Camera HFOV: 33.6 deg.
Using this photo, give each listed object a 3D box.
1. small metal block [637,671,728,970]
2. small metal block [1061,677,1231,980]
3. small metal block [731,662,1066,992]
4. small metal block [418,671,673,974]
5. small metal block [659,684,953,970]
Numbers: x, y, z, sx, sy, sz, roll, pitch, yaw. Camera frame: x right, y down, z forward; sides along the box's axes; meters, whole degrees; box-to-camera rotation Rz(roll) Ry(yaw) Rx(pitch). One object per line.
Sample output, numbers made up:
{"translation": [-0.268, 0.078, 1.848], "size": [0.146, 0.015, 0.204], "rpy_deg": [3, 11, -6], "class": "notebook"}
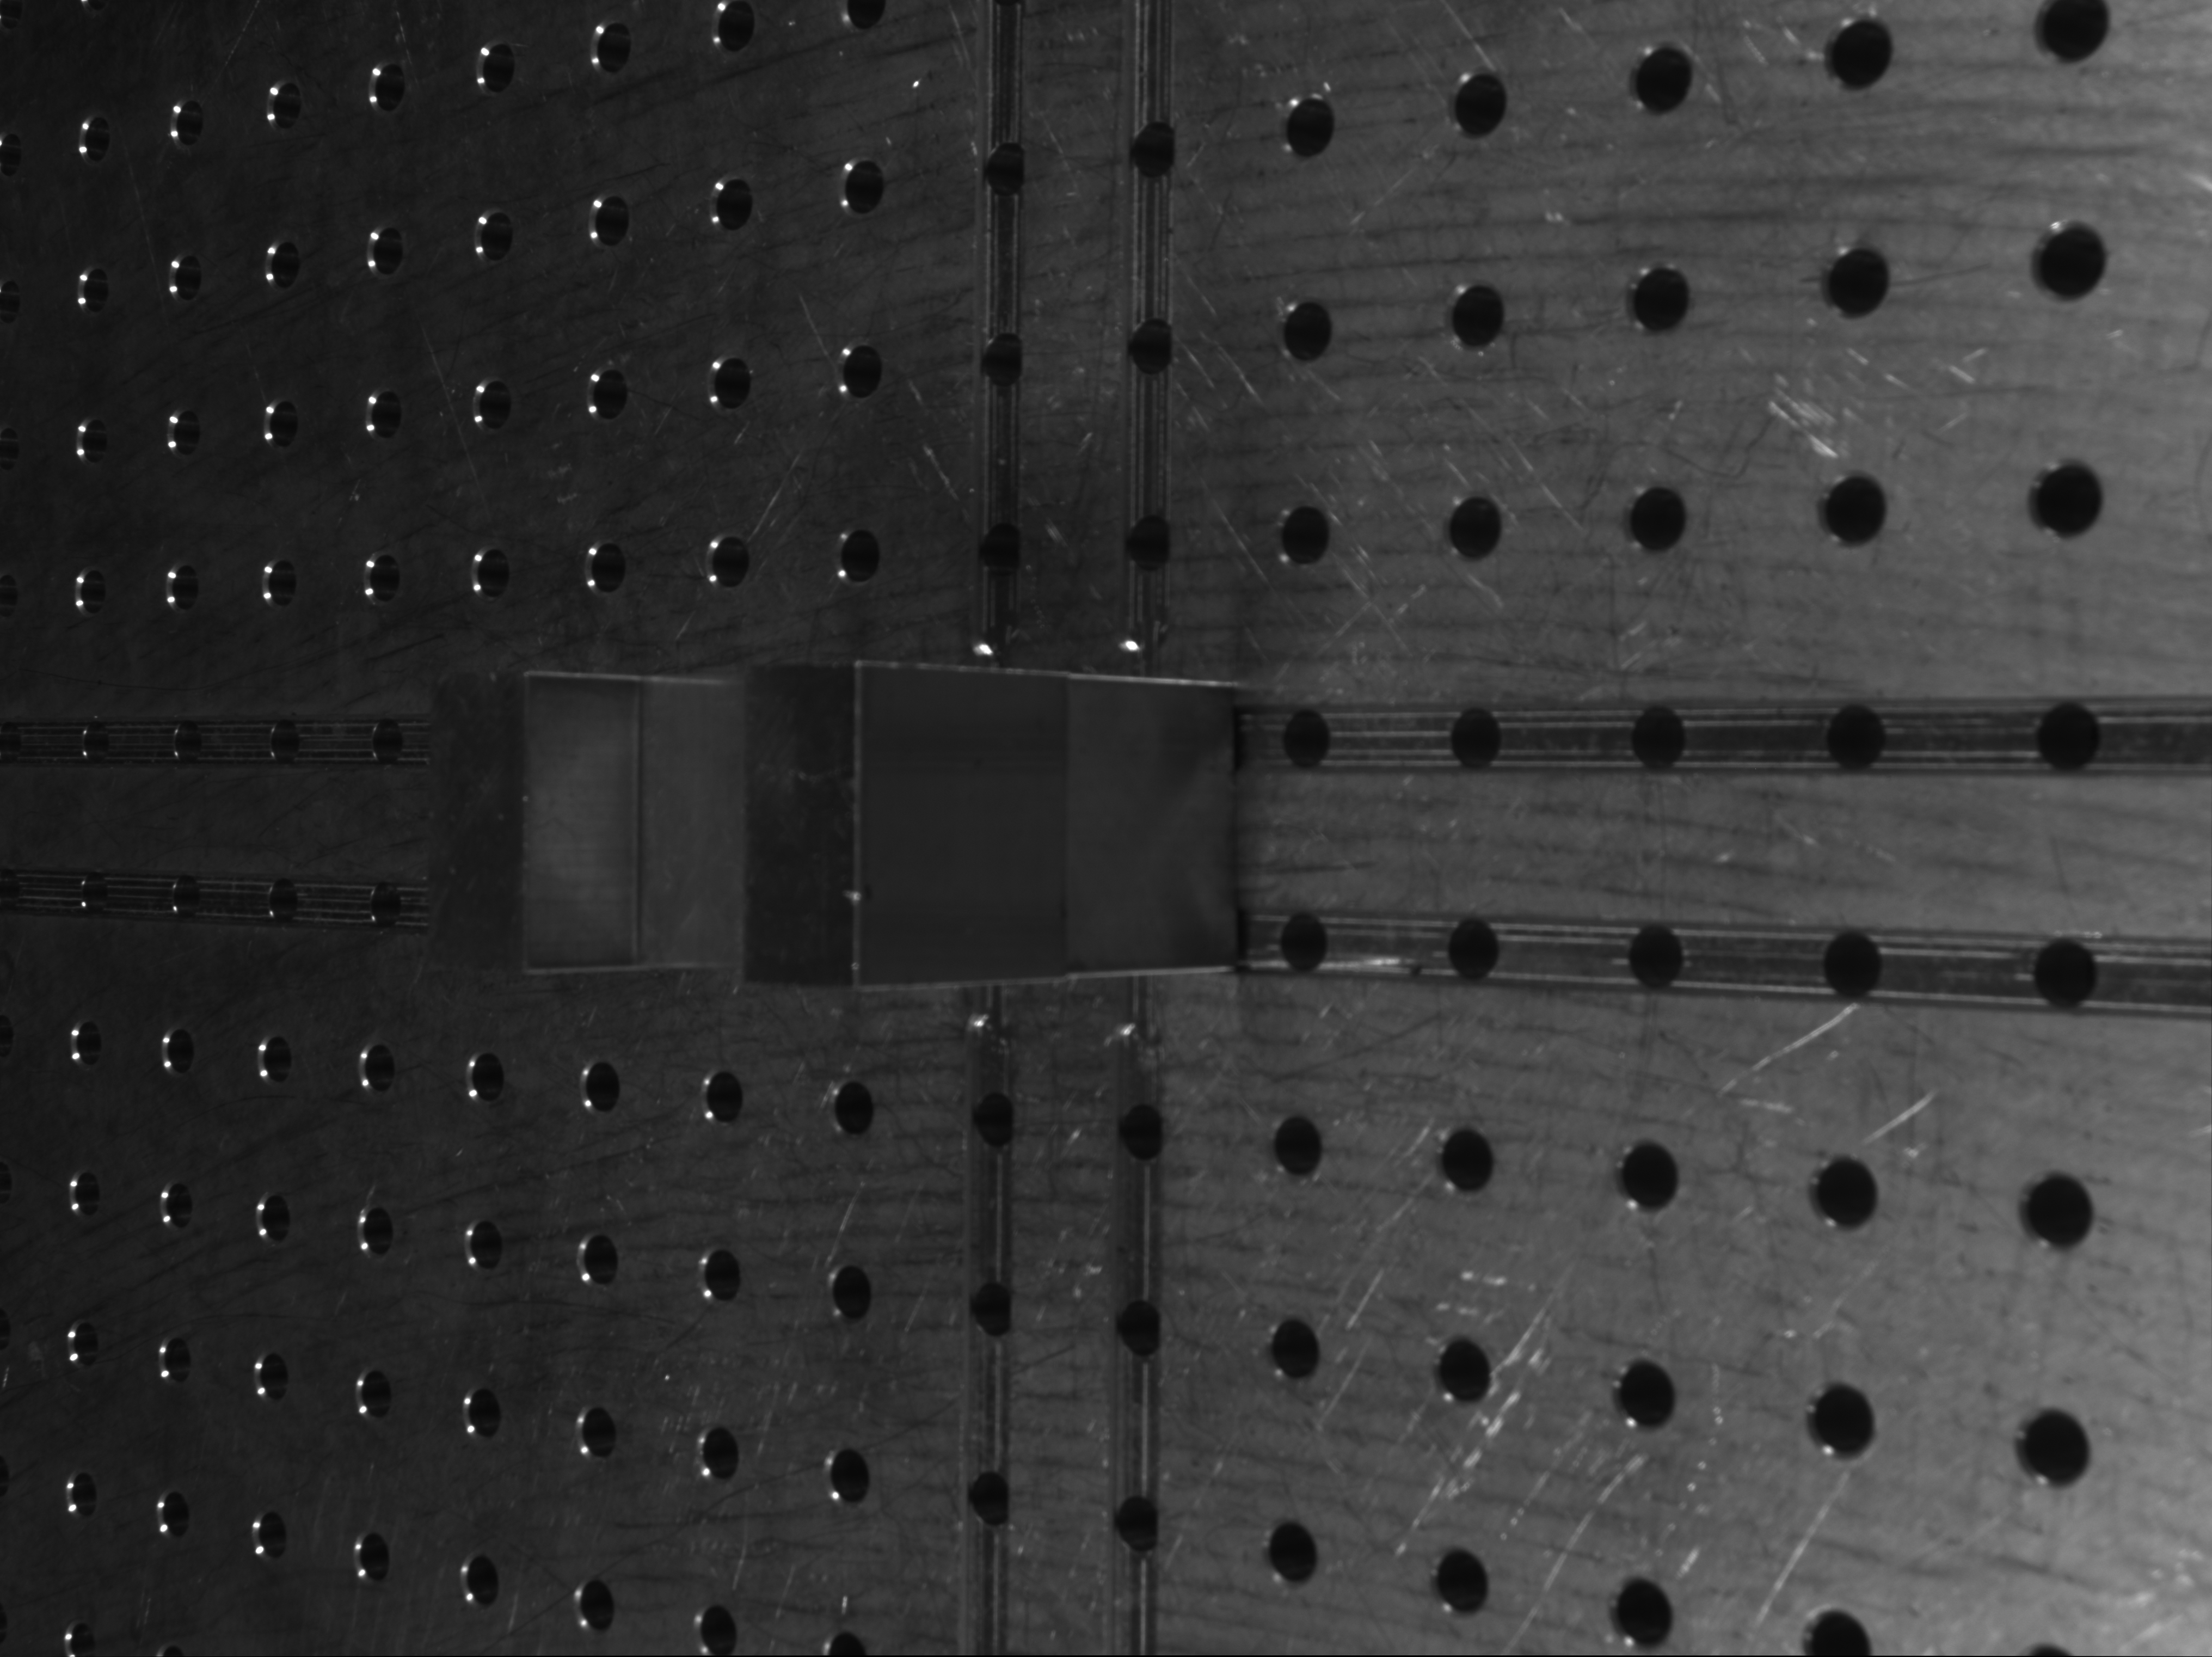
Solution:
{"translation": [-0.053, -0.001, 0.619], "size": [0.050, 0.025, 0.050], "rpy_deg": [1, 90, 39], "class": "small metal block"}
{"translation": [-0.004, 0.000, 0.626], "size": [0.025, 0.050, 0.050], "rpy_deg": [-1, 89, 39], "class": "small metal block"}
{"translation": [-0.033, 0.000, 0.583], "size": [0.025, 0.050, 0.050], "rpy_deg": [1, 90, 40], "class": "small metal block"}
{"translation": [-0.090, -0.001, 0.631], "size": [0.025, 0.050, 0.050], "rpy_deg": [1, 90, 40], "class": "small metal block"}
{"translation": [-0.054, 0.000, 0.667], "size": [0.025, 0.050, 0.050], "rpy_deg": [1, 90, 39], "class": "small metal block"}
